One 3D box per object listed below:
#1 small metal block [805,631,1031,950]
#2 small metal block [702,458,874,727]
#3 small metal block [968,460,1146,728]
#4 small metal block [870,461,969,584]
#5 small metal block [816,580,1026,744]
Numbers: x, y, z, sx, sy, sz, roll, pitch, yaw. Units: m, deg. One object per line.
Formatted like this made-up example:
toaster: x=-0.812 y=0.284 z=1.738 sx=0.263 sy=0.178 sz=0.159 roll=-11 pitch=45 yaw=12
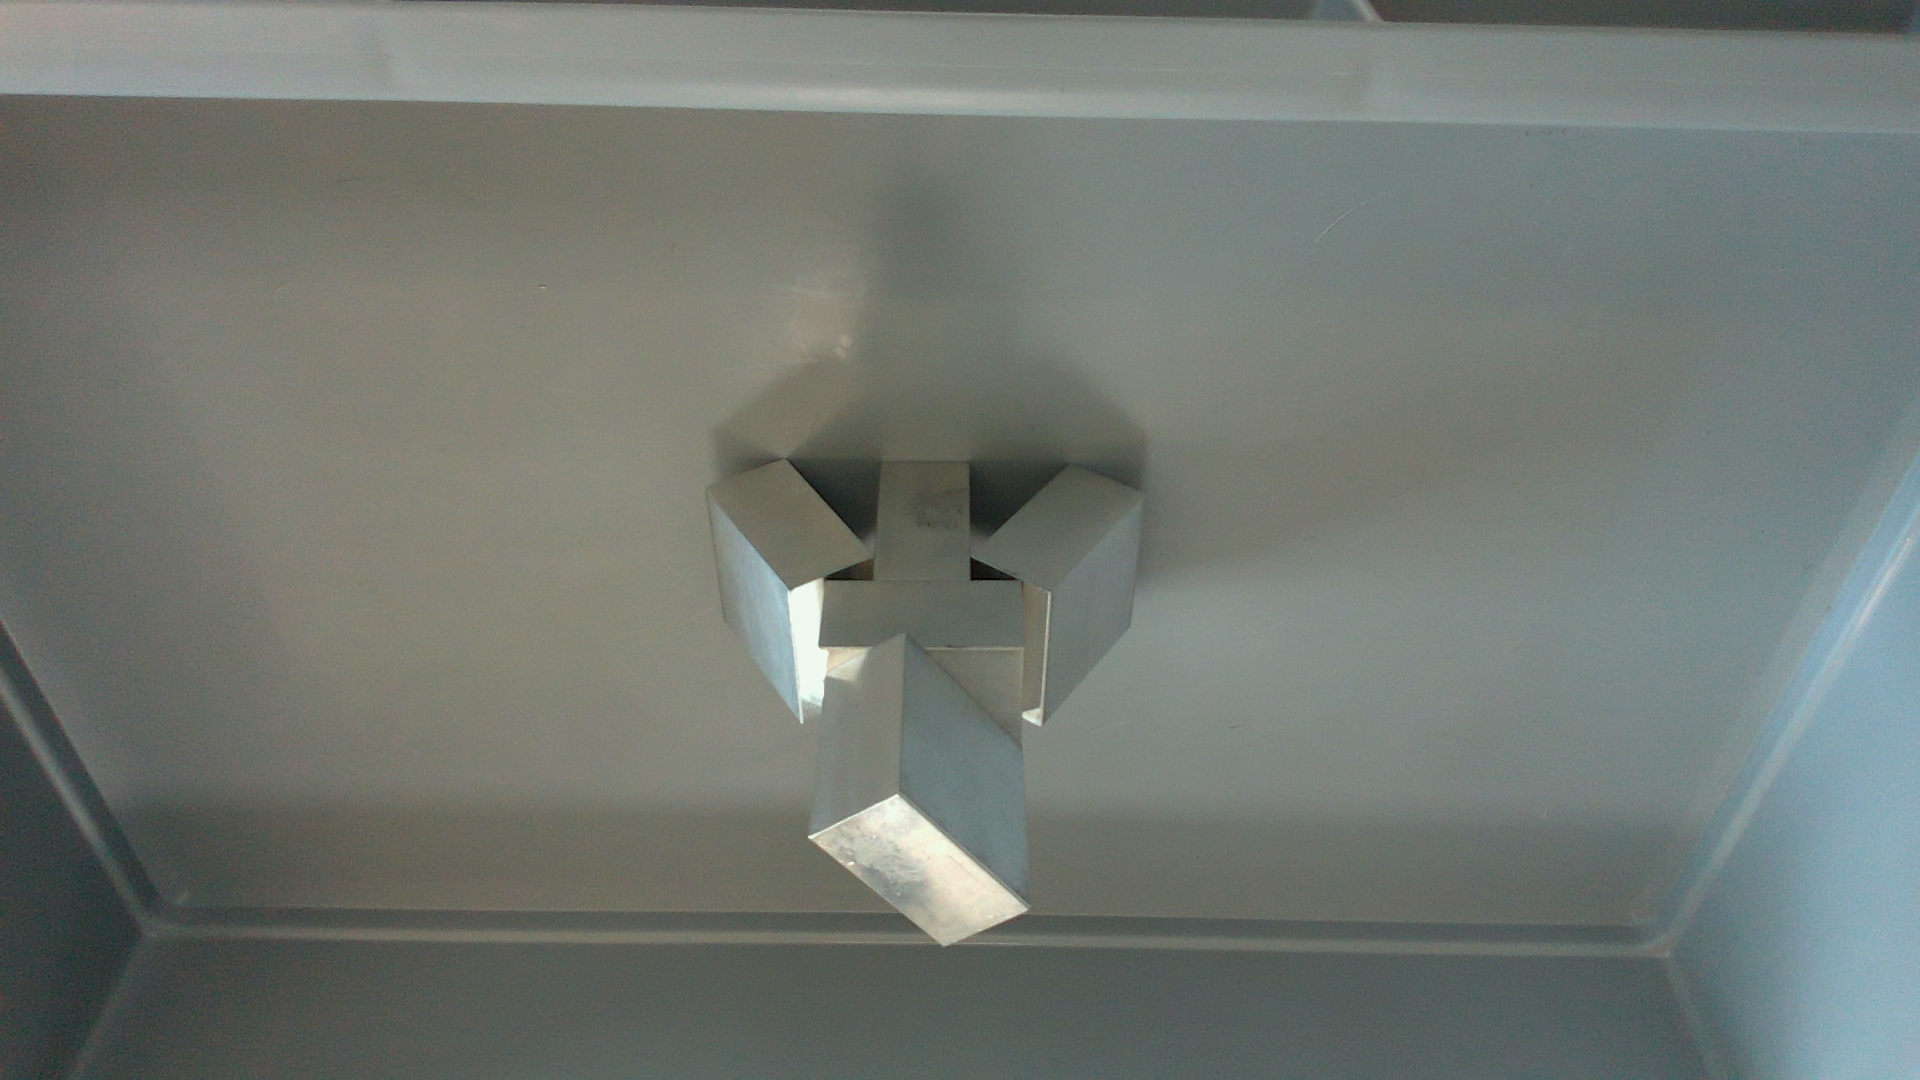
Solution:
small metal block: x=-0.008 y=0.059 z=0.323 sx=0.025 sy=0.050 sz=0.050 roll=-28 pitch=125 yaw=22
small metal block: x=-0.046 y=0.014 z=0.380 sx=0.025 sy=0.050 sz=0.050 roll=-23 pitch=135 yaw=-25
small metal block: x=0.026 y=0.015 z=0.382 sx=0.025 sy=0.050 sz=0.050 roll=24 pitch=135 yaw=25
small metal block: x=-0.010 y=0.013 z=0.383 sx=0.025 sy=0.050 sz=0.050 roll=0 pitch=130 yaw=0
small metal block: x=-0.010 y=0.038 z=0.354 sx=0.050 sy=0.025 sz=0.050 roll=0 pitch=130 yaw=-1
